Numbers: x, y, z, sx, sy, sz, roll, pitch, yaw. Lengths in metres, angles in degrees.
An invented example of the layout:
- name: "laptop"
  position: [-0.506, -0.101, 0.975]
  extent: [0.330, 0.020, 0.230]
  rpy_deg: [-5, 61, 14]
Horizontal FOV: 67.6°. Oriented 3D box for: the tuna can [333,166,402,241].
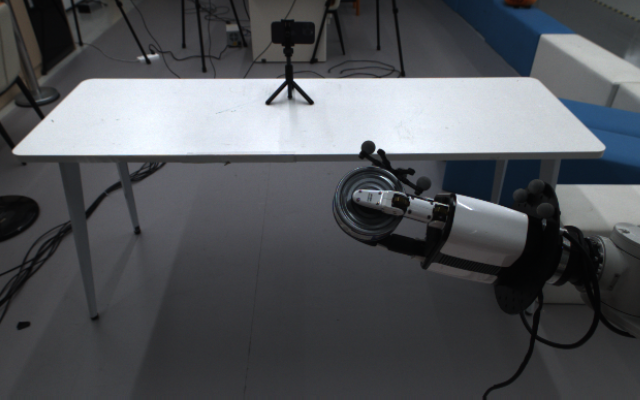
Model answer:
- name: "tuna can"
  position: [0.062, 0.010, 0.569]
  extent: [0.085, 0.034, 0.085]
  rpy_deg: [0, 74, 0]
